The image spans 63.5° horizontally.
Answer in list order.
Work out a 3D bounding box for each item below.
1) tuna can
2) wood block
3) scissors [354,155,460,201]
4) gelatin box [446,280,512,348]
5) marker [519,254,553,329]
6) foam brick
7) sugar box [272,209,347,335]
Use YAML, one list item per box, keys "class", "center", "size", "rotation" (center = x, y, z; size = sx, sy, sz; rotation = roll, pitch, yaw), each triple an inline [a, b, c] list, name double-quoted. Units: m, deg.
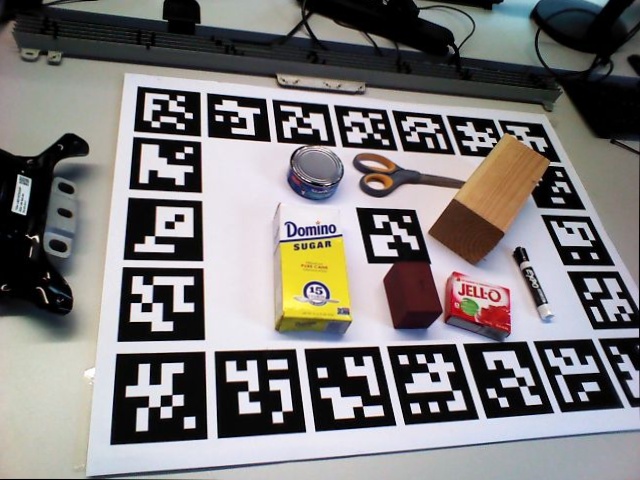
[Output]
- class: "tuna can"
  center: [-0.008, -0.099, 0.802]
  size: [0.086, 0.034, 0.085]
  rotation: [7, 57, -11]
- class: "wood block"
  center: [0.284, -0.055, 0.825]
  size: [0.090, 0.091, 0.205]
  rotation: [38, 55, 12]
- class: "scissors"
  center: [0.156, -0.094, 0.858]
  size: [0.203, 0.016, 0.087]
  rotation: [7, 56, -8]
- class: "gelatin box"
  center: [0.227, 0.104, 0.738]
  size: [0.089, 0.030, 0.073]
  rotation: [18, 55, -3]
- class: "marker"
  center: [0.328, 0.076, 0.788]
  size: [0.019, 0.020, 0.120]
  rotation: [3, 59, -13]
- class: "foam brick"
  center: [0.129, 0.085, 0.706]
  size: [0.053, 0.052, 0.077]
  rotation: [3, 58, -13]
- class: "sugar box"
  center: [-0.015, 0.041, 0.706]
  size: [0.093, 0.045, 0.175]
  rotation: [6, 56, -12]
